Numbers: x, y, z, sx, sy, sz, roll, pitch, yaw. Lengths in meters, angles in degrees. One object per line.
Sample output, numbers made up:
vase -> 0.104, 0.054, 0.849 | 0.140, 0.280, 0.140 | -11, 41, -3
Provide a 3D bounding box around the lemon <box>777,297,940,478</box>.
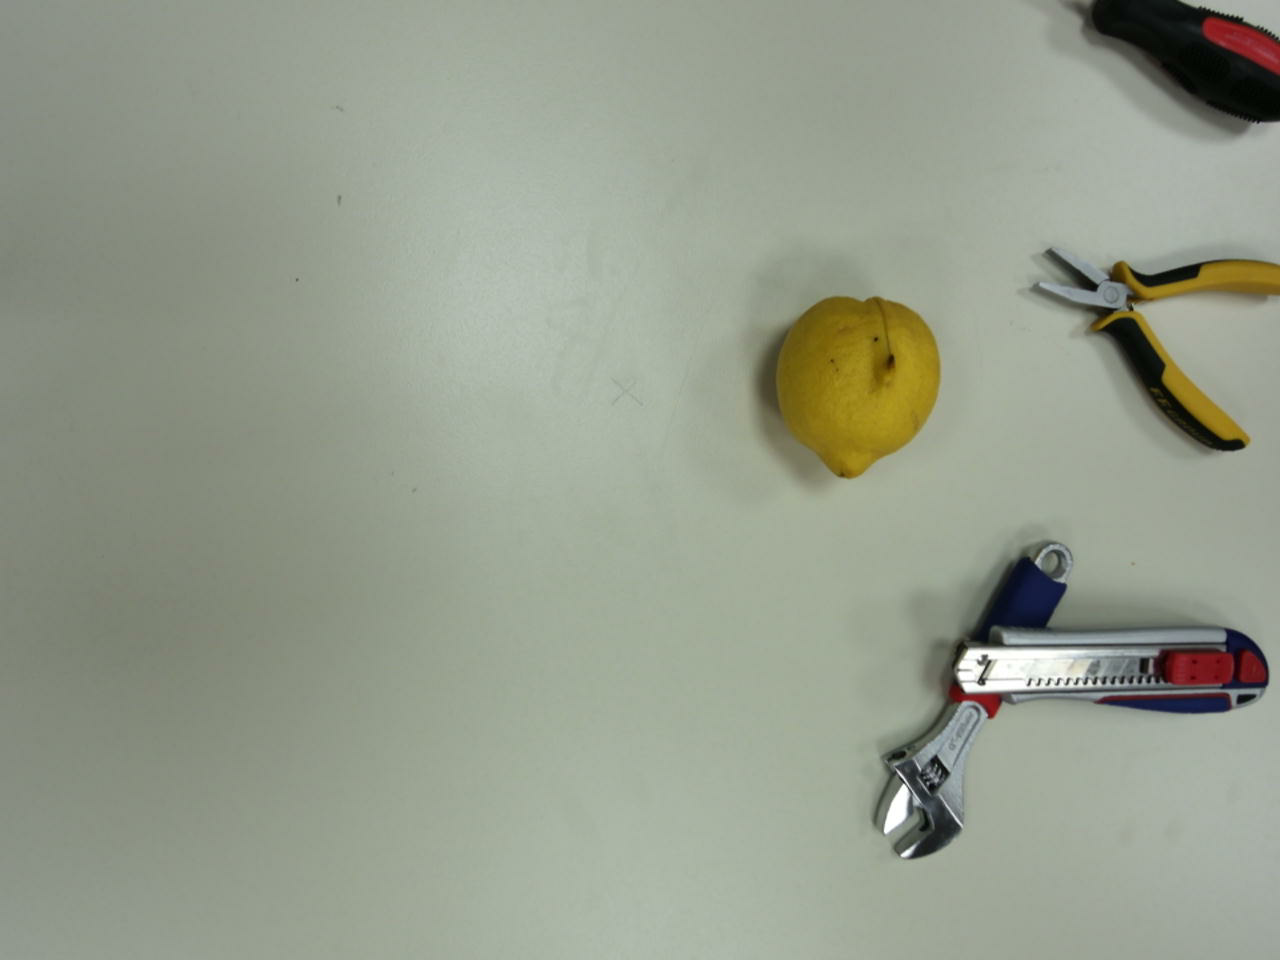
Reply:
lemon -> 0.092, -0.044, 0.422 | 0.071, 0.071, 0.070 | -44, 99, -8
